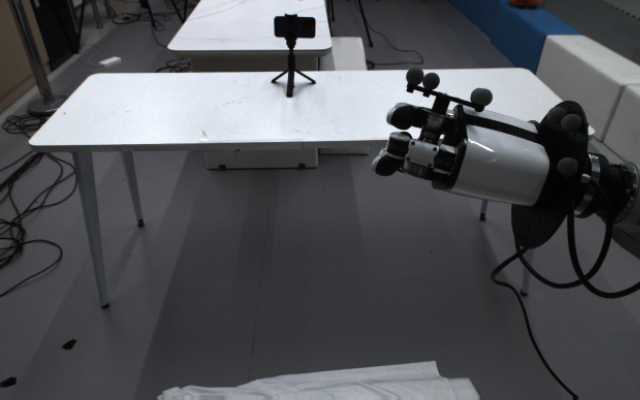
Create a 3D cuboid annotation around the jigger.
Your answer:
[{"bbox_3d":[0.116,-0.060,0.519,0.043,0.071,0.043,15,16,-5],"label":"jigger"}]
